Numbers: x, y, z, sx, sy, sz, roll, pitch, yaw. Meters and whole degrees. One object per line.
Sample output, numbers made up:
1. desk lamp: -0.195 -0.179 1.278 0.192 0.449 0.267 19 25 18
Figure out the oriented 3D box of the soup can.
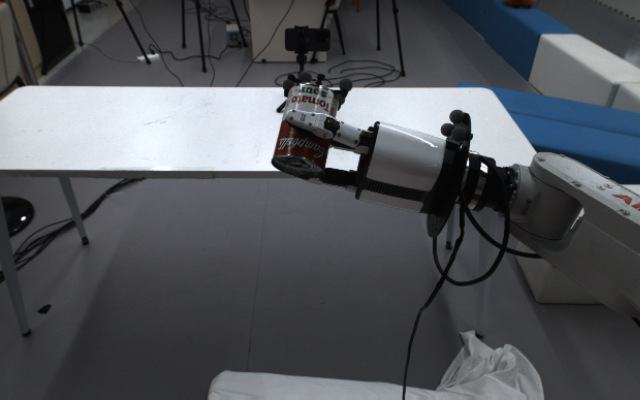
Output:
1. soup can: -0.017 -0.088 0.611 0.067 0.067 0.101 9 74 9
